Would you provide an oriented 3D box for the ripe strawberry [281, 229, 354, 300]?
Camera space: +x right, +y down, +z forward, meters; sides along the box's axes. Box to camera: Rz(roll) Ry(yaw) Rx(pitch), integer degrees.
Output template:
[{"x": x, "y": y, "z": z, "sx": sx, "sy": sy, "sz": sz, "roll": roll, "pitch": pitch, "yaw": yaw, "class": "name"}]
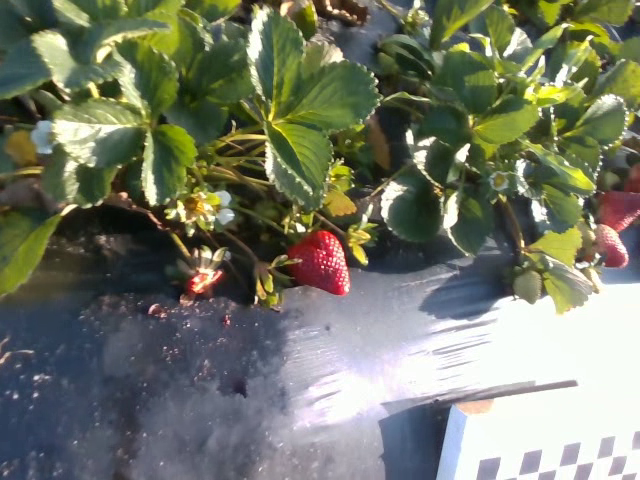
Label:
[{"x": 0.005, "y": 0.022, "z": 0.396, "sx": 0.052, "sy": 0.052, "sz": 0.041, "roll": -29, "pitch": -32, "yaw": -14, "class": "ripe strawberry"}]
